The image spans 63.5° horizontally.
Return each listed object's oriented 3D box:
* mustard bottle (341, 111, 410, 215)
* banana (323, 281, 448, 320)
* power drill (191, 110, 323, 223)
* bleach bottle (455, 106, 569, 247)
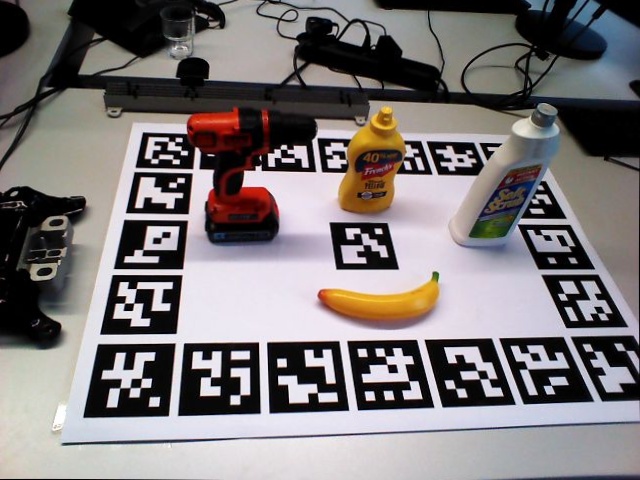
[{"bbox_3d":[0.096,-0.124,0.832,0.096,0.192,0.058,-5,51,-14],"label":"mustard bottle"},{"bbox_3d":[0.104,0.081,0.745,0.197,0.039,0.074,-5,53,-9],"label":"banana"},{"bbox_3d":[-0.084,-0.110,0.754,0.184,0.188,0.057,-6,51,-8],"label":"power drill"},{"bbox_3d":[0.295,-0.094,0.791,0.103,0.252,0.067,7,49,-3],"label":"bleach bottle"}]
